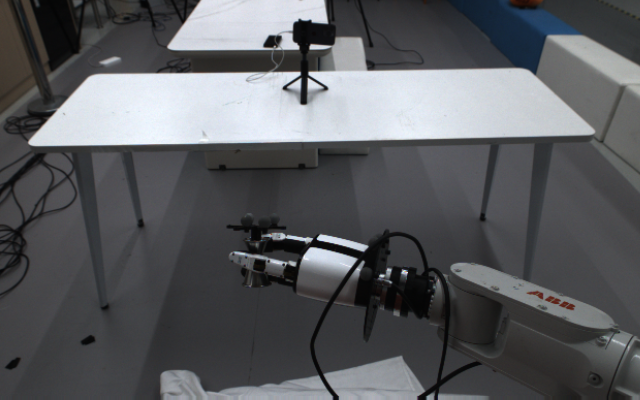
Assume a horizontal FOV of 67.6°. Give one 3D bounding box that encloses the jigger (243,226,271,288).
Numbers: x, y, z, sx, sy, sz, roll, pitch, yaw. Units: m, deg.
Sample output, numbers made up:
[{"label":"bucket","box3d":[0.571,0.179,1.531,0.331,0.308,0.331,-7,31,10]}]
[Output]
[{"label":"jigger","box3d":[-0.093,0.090,0.715,0.043,0.071,0.043,0,2,0]}]
